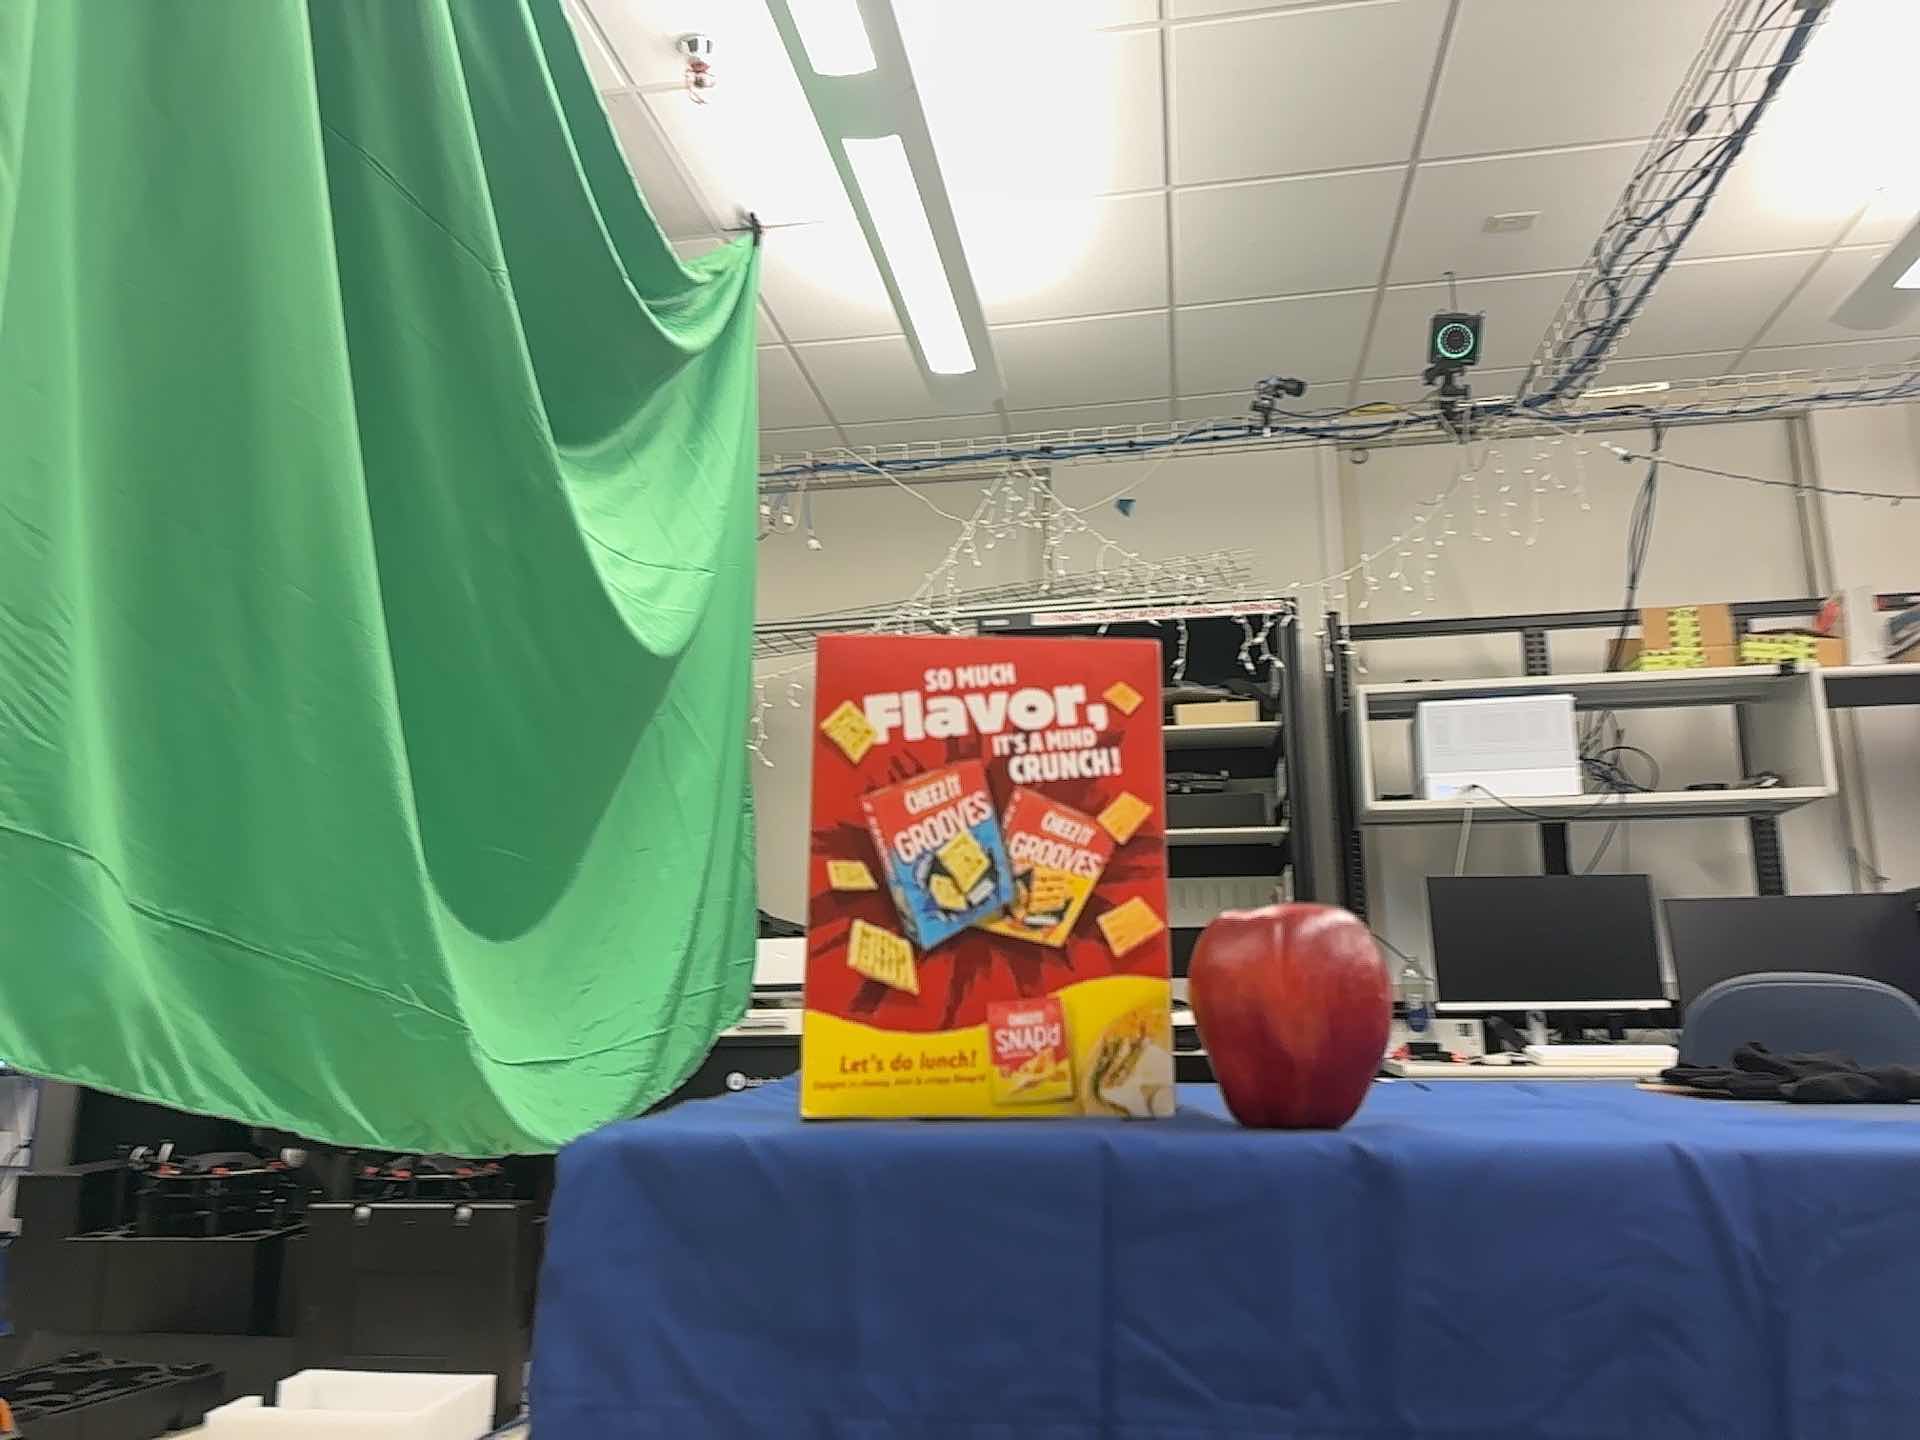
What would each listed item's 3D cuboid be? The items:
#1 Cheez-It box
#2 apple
[{"bbox_3d":[0.013,0.071,0.623,0.159,0.214,0.062,1,-11,-6],"label":"Cheez-It box"},{"bbox_3d":[0.136,0.117,0.549,0.079,0.093,0.079,-2,-10,0],"label":"apple"}]
